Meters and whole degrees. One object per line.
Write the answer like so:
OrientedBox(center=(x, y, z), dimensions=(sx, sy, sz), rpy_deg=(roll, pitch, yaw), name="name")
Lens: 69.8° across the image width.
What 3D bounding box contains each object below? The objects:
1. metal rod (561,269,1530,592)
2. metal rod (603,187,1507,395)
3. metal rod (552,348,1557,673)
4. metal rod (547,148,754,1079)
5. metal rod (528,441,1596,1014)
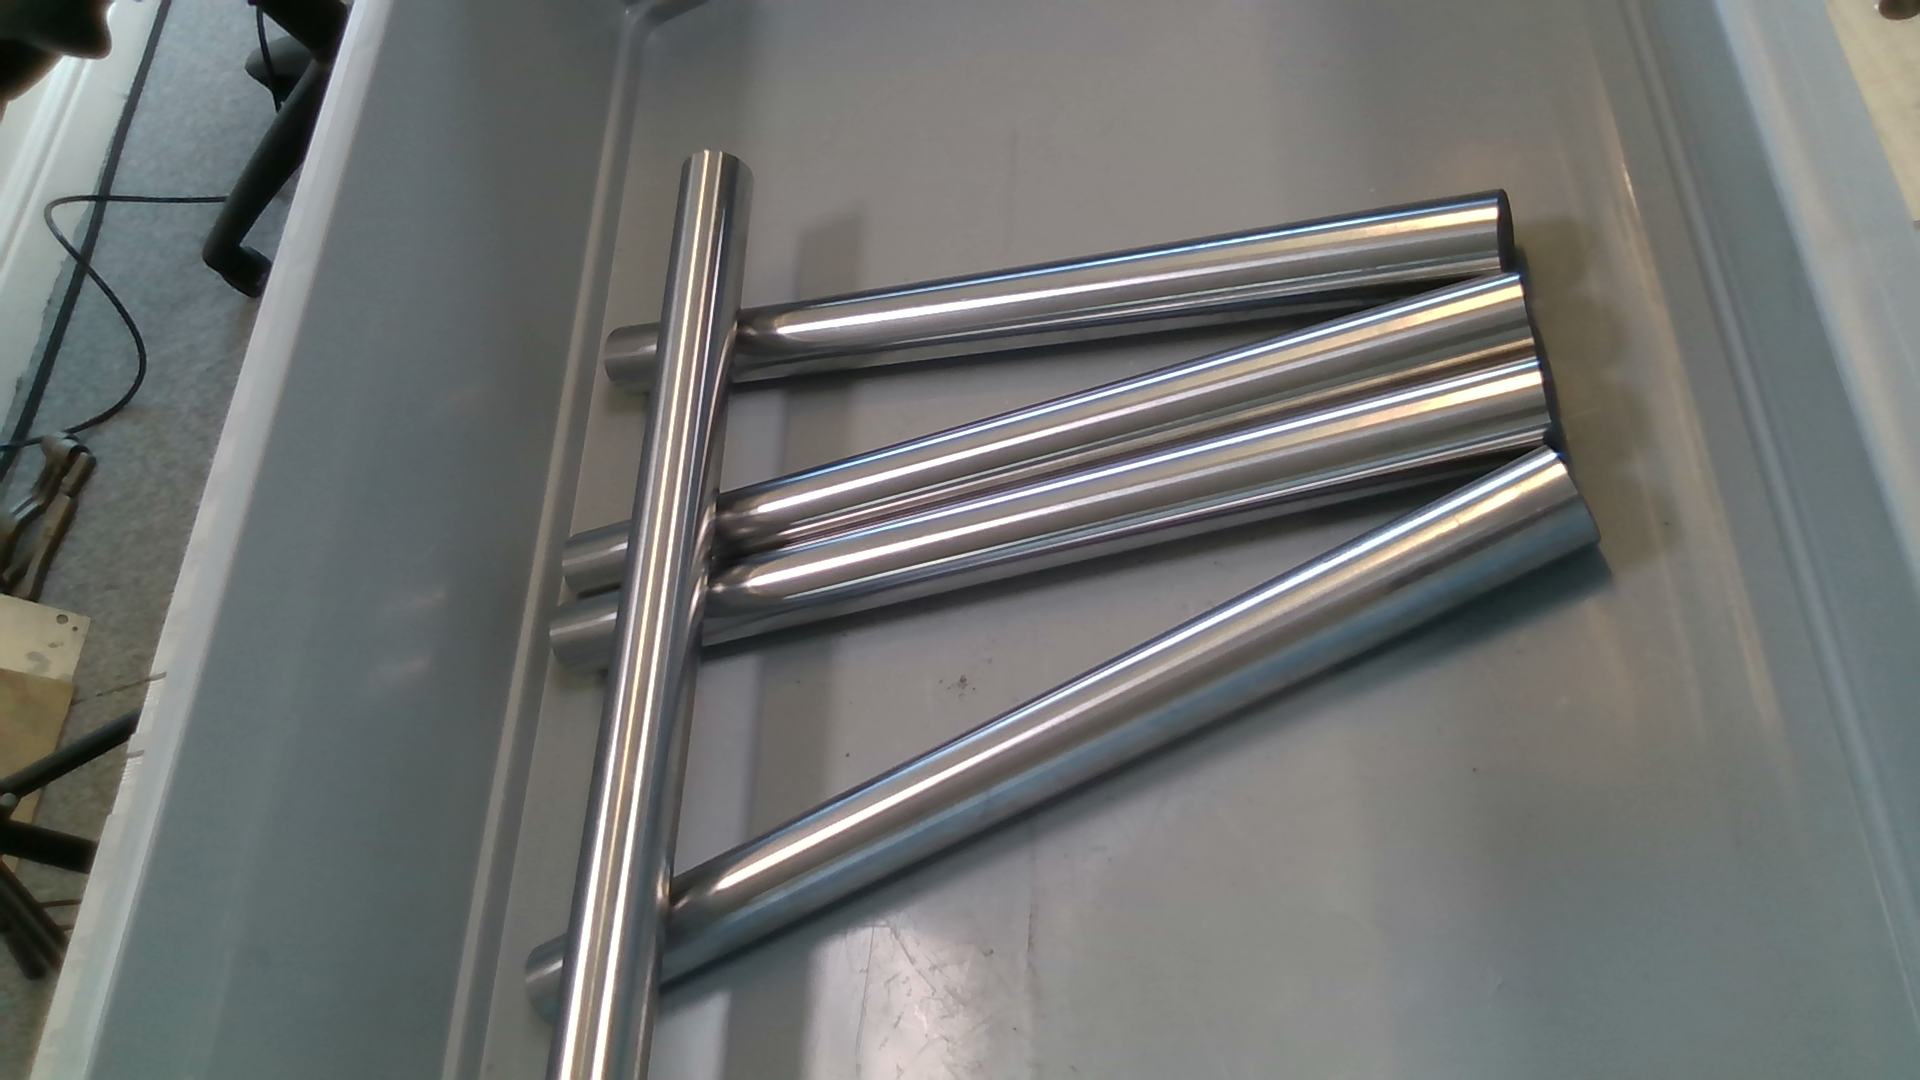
OrientedBox(center=(0.006, -0.022, 0.400), dimensions=(0.300, 0.025, 0.025), rpy_deg=(-14, 59, 25), name="metal rod")
OrientedBox(center=(0.008, -0.071, 0.425), dimensions=(0.300, 0.025, 0.025), rpy_deg=(-2, 64, 31), name="metal rod")
OrientedBox(center=(0.006, -0.001, 0.389), dimensions=(0.300, 0.025, 0.025), rpy_deg=(-14, 59, 25), name="metal rod")
OrientedBox(center=(-0.087, 0.005, 0.409), dimensions=(0.025, 0.025, 0.299), rpy_deg=(-13, 59, 26), name="metal rod")
OrientedBox(center=(0.011, 0.057, 0.355), dimensions=(0.300, 0.025, 0.025), rpy_deg=(-28, 54, 16), name="metal rod")
